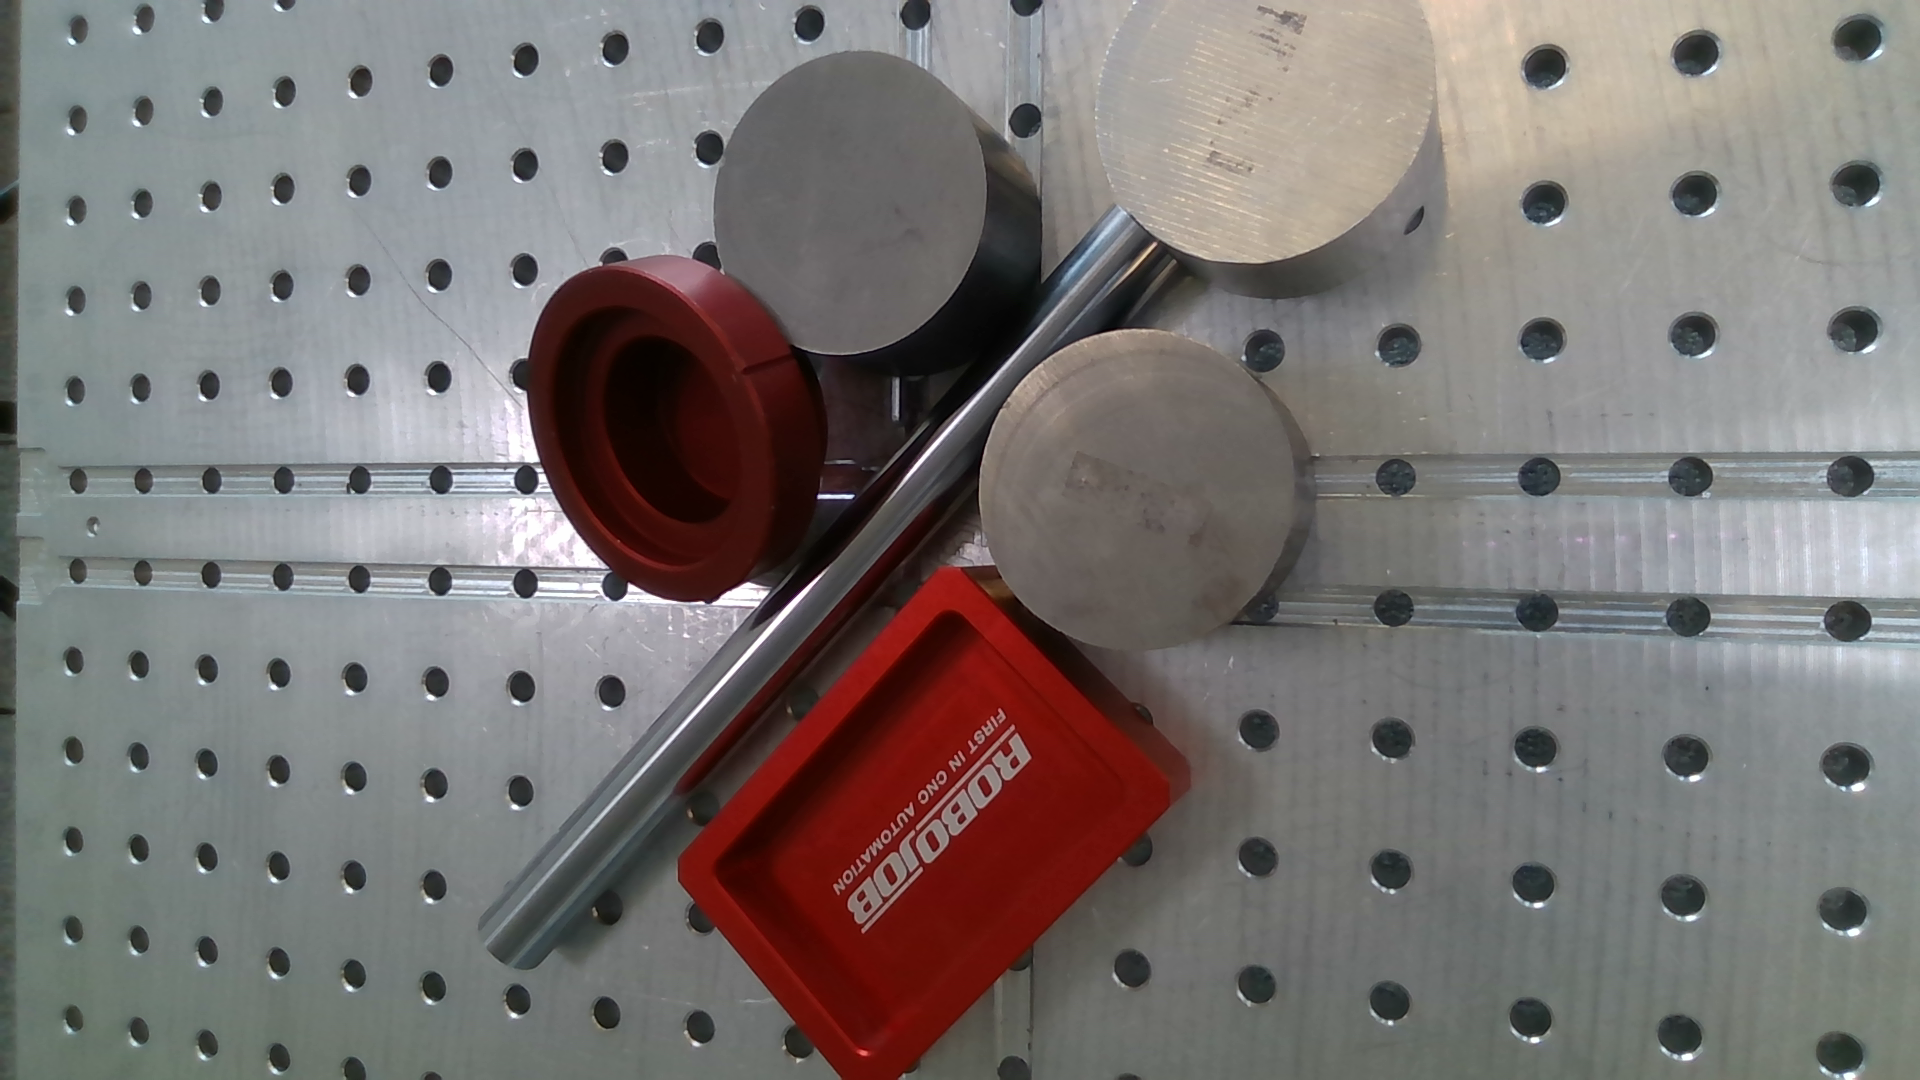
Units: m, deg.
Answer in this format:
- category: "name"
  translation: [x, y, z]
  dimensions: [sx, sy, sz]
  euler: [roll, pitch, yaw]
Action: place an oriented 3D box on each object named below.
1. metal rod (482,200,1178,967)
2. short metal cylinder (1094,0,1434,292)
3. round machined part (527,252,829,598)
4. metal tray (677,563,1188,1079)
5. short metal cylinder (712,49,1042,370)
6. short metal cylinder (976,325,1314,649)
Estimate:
- category: "metal rod"
  translation: [-0.047, 0.022, 0.414]
  dimensions: [0.025, 0.025, 0.300]
  euler: [46, 105, 14]
- category: "short metal cylinder"
  translation: [0.080, -0.107, 0.353]
  dimensions: [0.080, 0.050, 0.080]
  euler: [0, 90, 20]
- category: "round machined part"
  translation: [-0.078, -0.036, 0.404]
  dimensions: [0.098, 0.042, 0.098]
  euler: [14, 116, 31]
- category: "metal tray"
  translation: [-0.010, 0.081, 0.397]
  dimensions: [0.090, 0.030, 0.130]
  euler: [46, 105, 15]
- category: "short metal cylinder"
  translation: [-0.022, -0.090, 0.390]
  dimensions: [0.080, 0.050, 0.080]
  euler: [0, 90, 20]
- category: "short metal cylinder"
  translation: [0.050, -0.013, 0.364]
  dimensions: [0.080, 0.050, 0.080]
  euler: [0, 90, 20]
